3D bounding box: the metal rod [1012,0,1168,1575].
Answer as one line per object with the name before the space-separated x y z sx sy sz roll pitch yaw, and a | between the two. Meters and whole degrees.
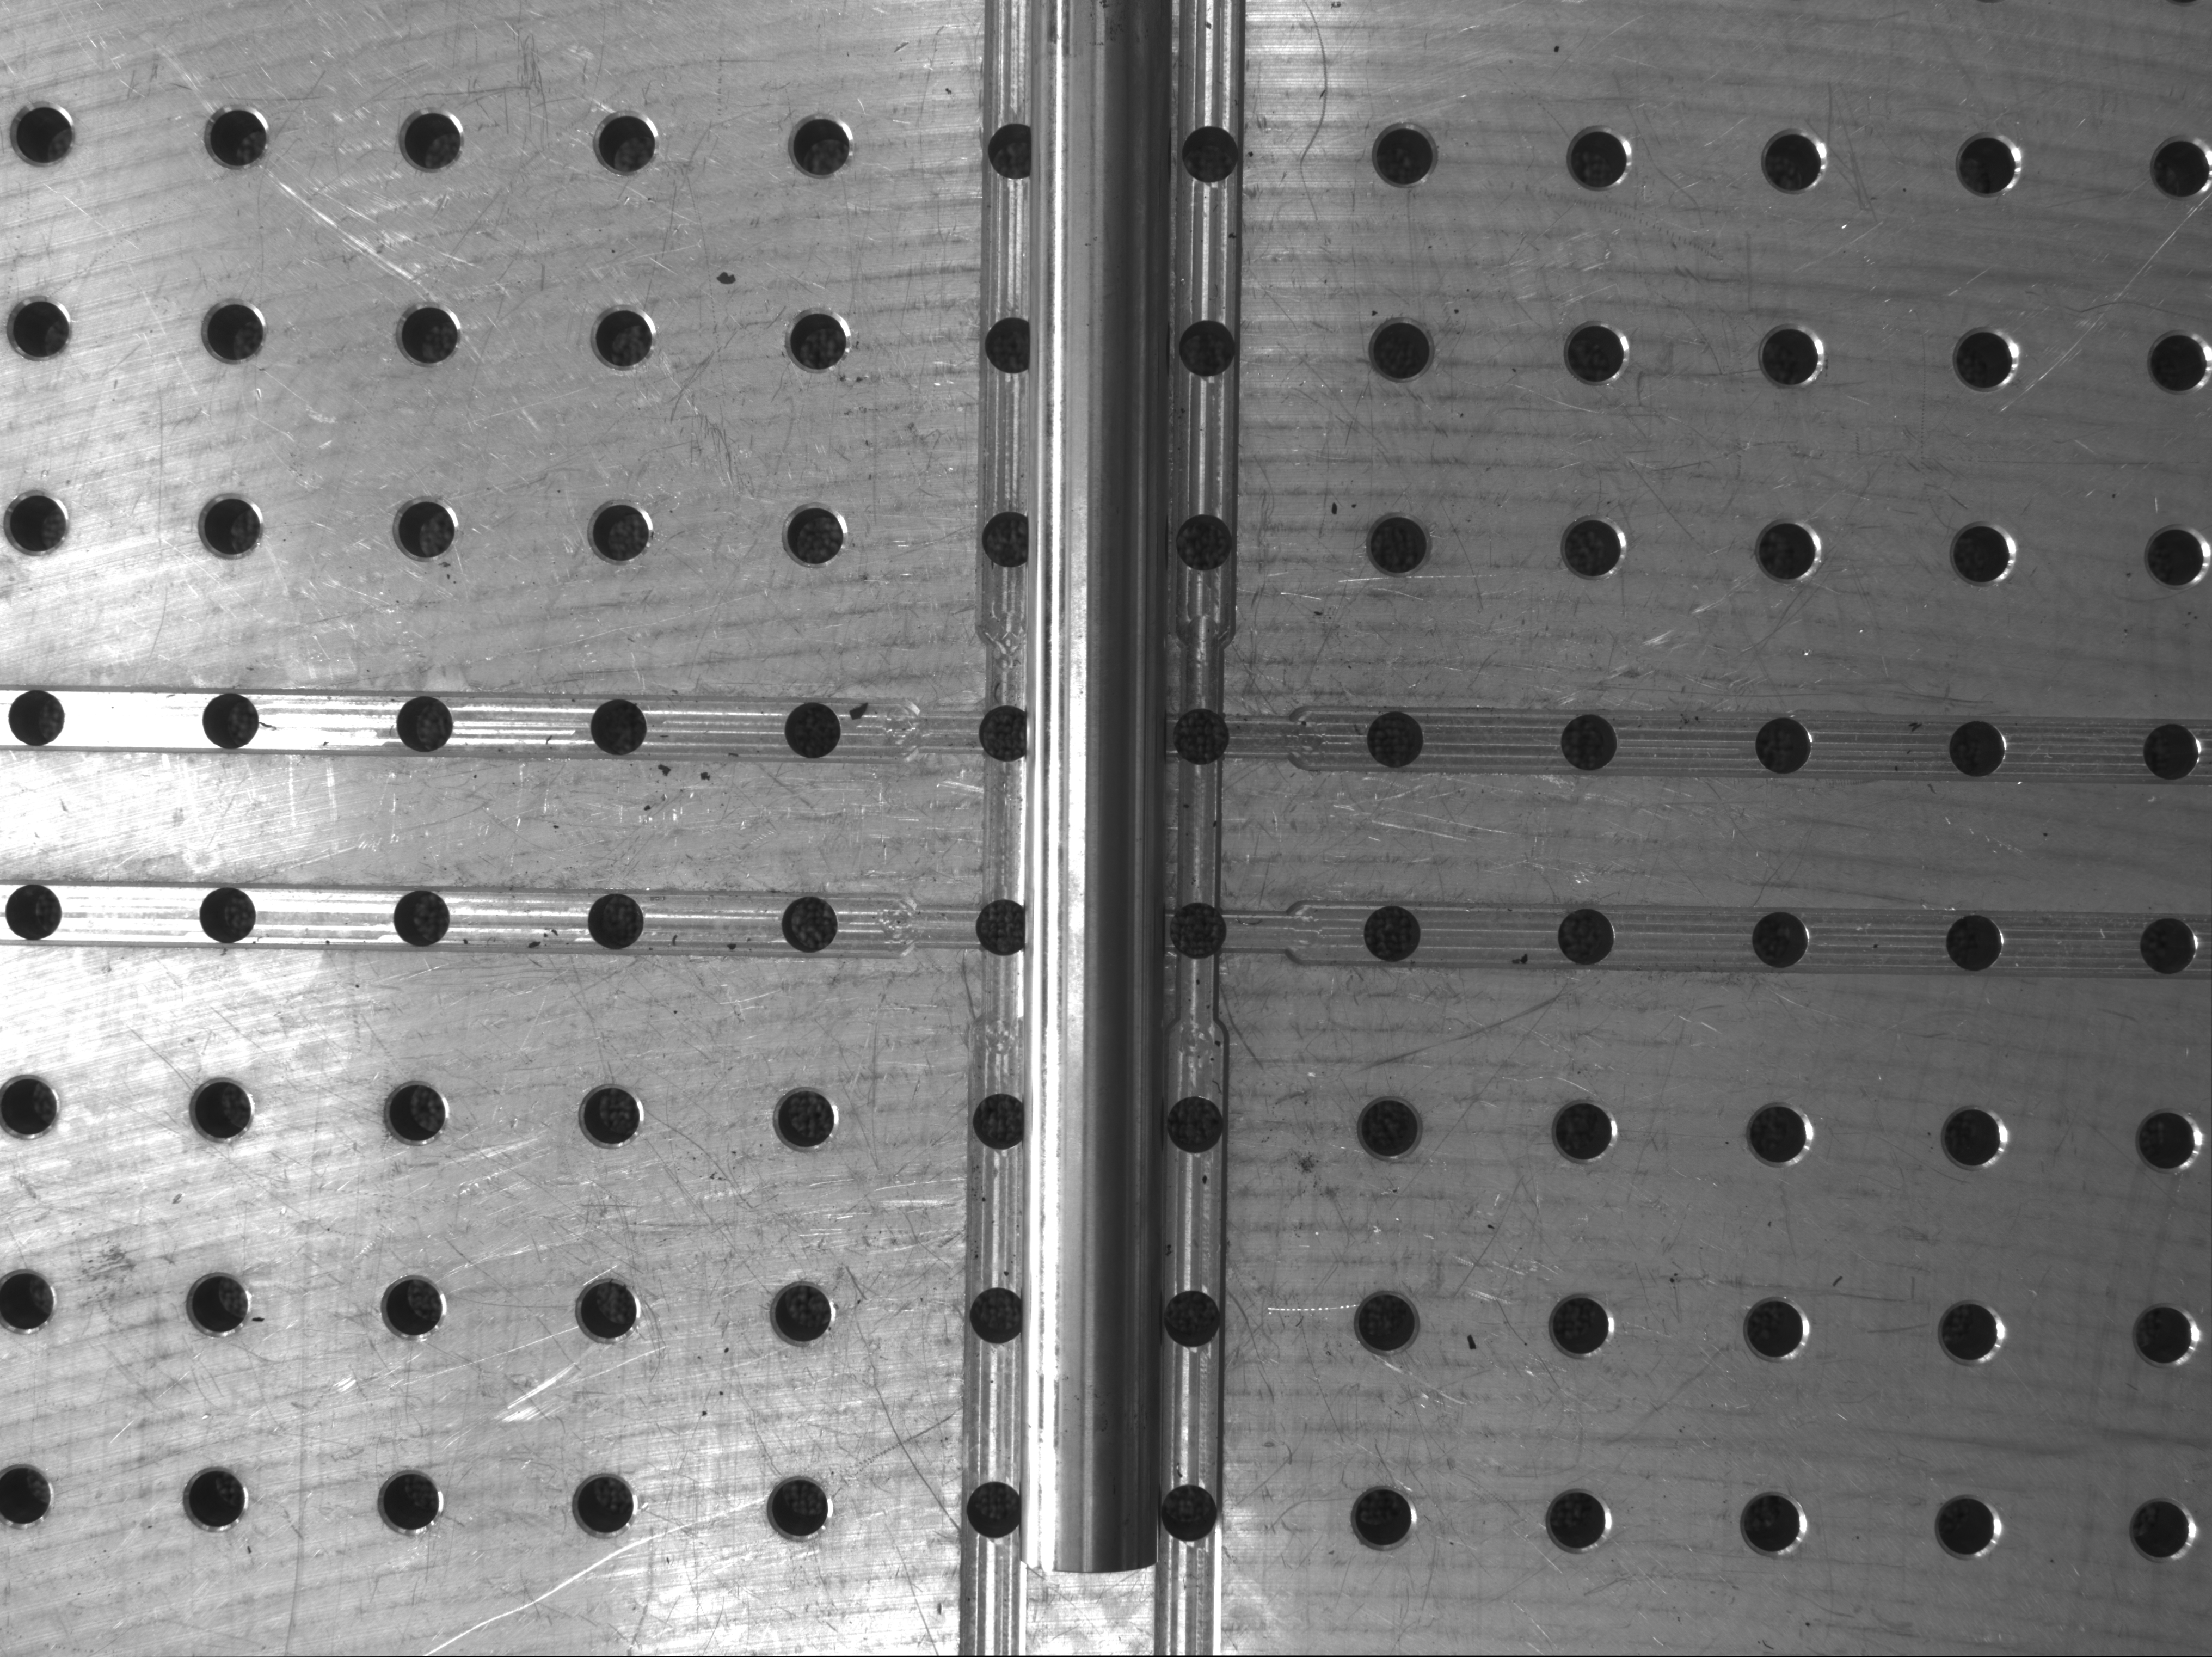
metal rod | -0.003 -0.021 0.649 0.025 0.025 0.300 1 90 0
